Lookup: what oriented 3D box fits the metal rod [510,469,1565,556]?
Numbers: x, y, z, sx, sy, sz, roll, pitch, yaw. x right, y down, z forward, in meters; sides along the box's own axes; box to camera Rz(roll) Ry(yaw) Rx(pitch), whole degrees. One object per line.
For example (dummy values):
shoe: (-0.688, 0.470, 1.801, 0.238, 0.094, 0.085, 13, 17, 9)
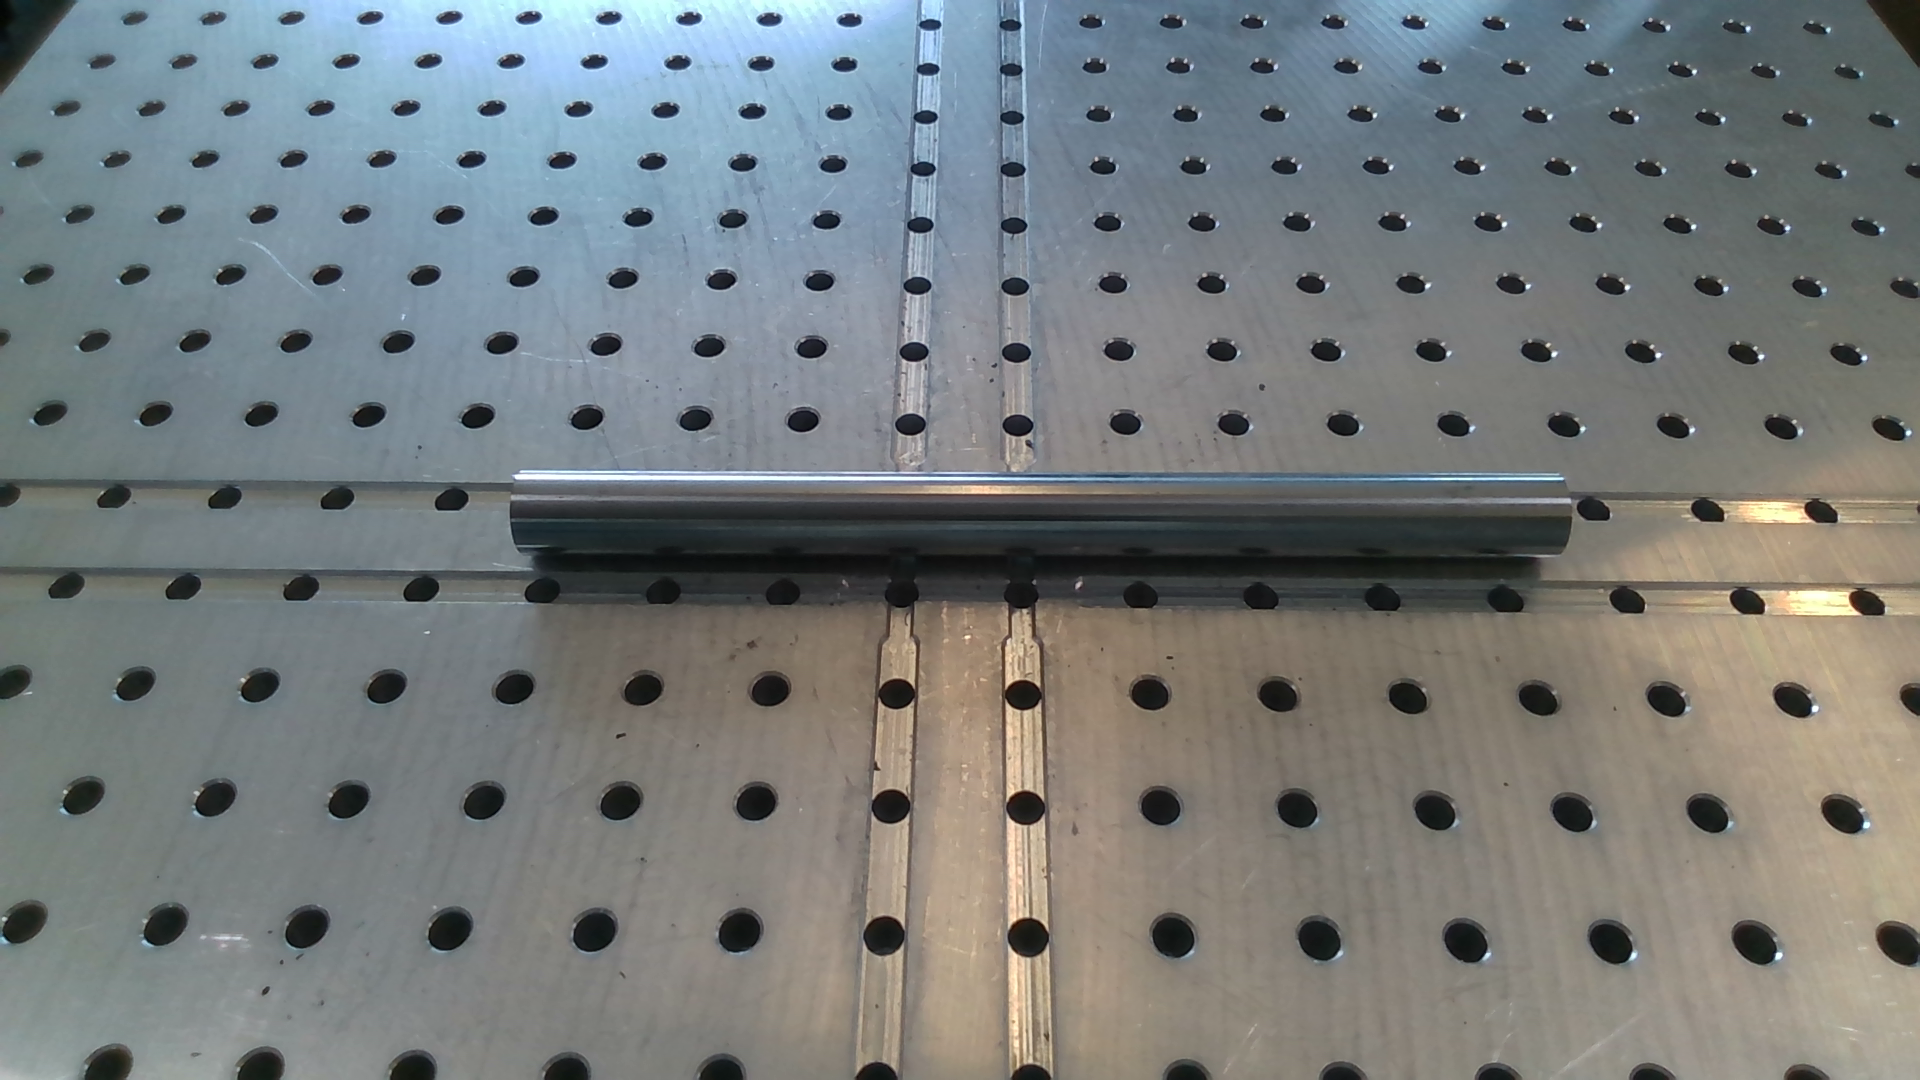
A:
metal rod: (0.022, -0.008, 0.404, 0.300, 0.025, 0.025, 0, 50, 0)
